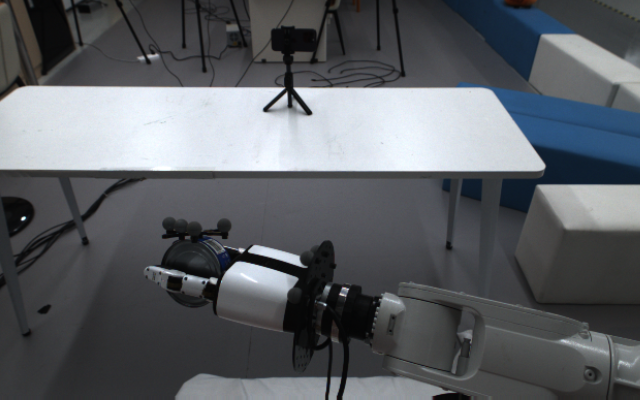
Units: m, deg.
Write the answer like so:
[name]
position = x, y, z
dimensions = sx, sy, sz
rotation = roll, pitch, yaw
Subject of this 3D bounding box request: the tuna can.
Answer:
[tuna can]
position = -0.152, 0.089, 0.607
dimensions = 0.085, 0.085, 0.034
rotation = 15, 9, 18
